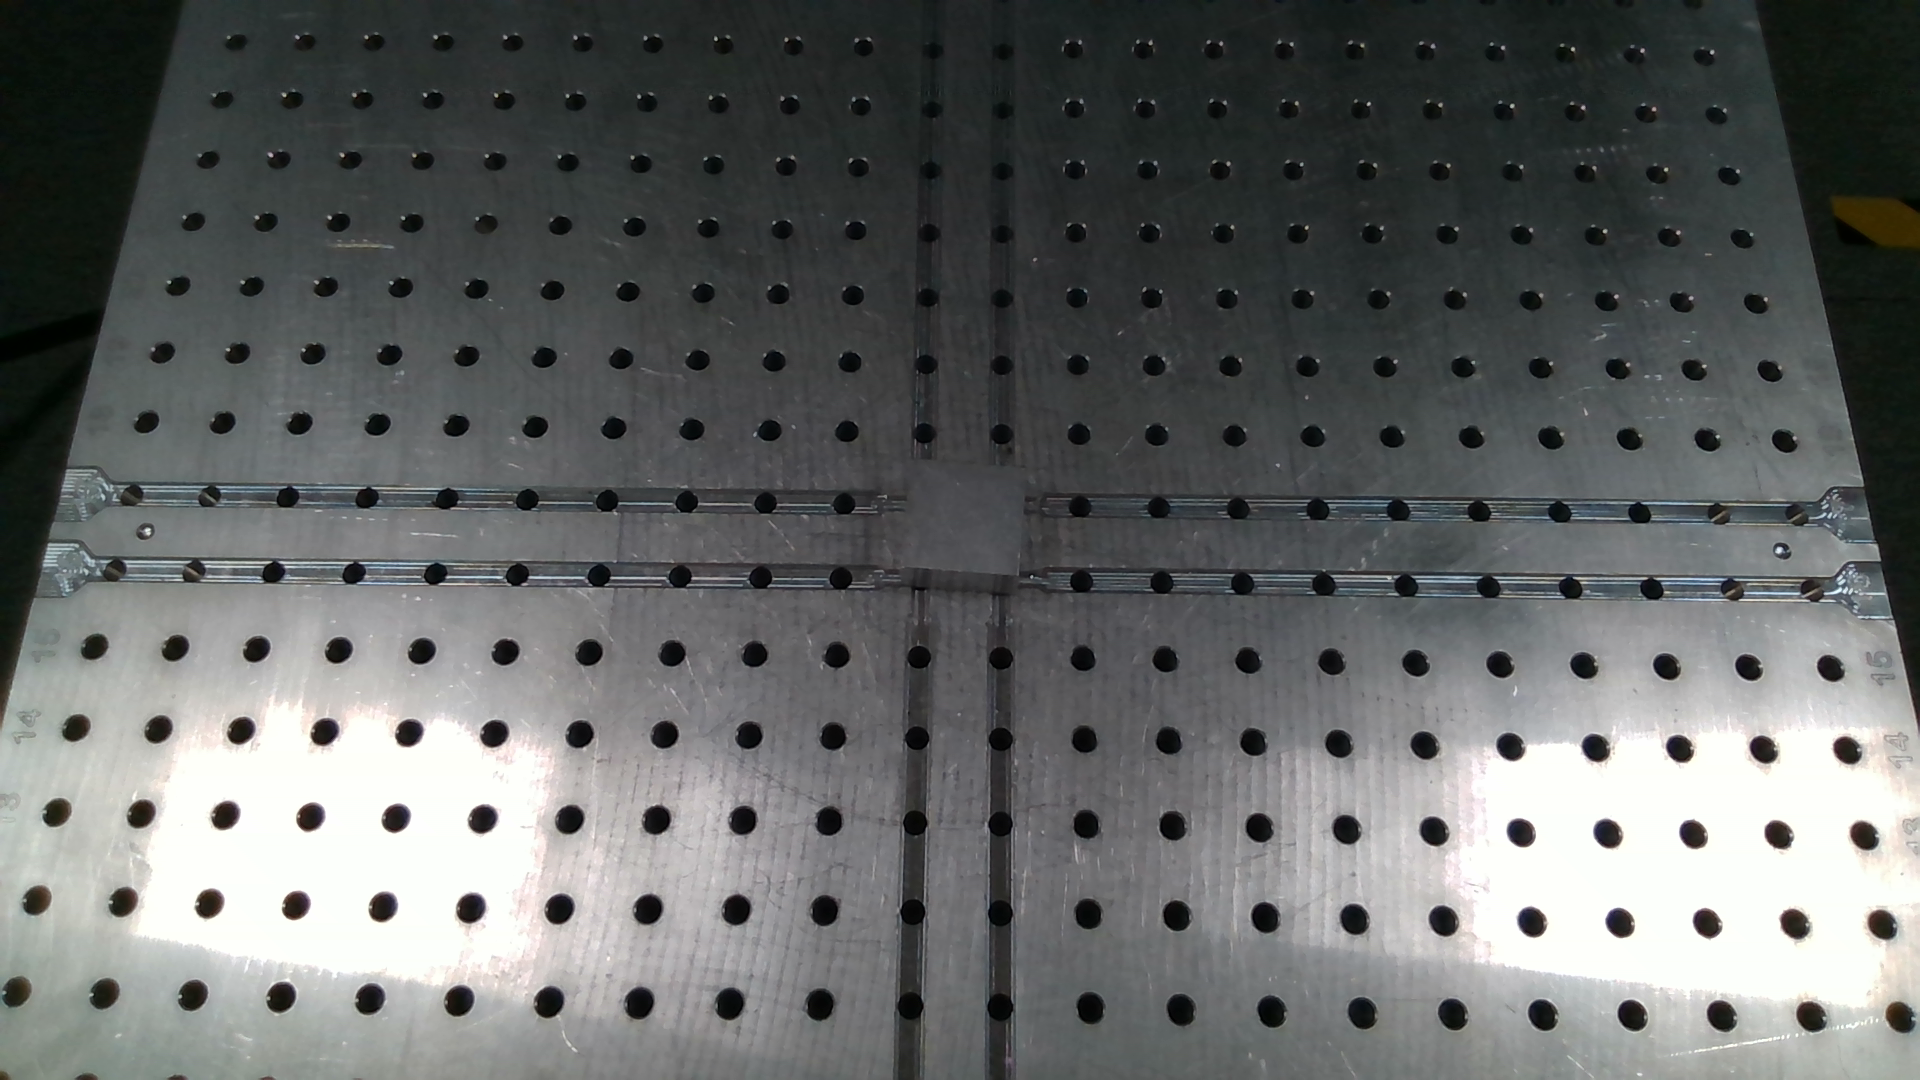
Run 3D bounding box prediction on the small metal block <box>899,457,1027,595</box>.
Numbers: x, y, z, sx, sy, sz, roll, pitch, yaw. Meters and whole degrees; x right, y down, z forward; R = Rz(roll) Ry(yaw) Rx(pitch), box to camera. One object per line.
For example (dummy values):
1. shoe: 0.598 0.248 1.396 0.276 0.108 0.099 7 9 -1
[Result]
1. small metal block: 0.002 -0.006 0.592 0.050 0.025 0.050 5 70 2
